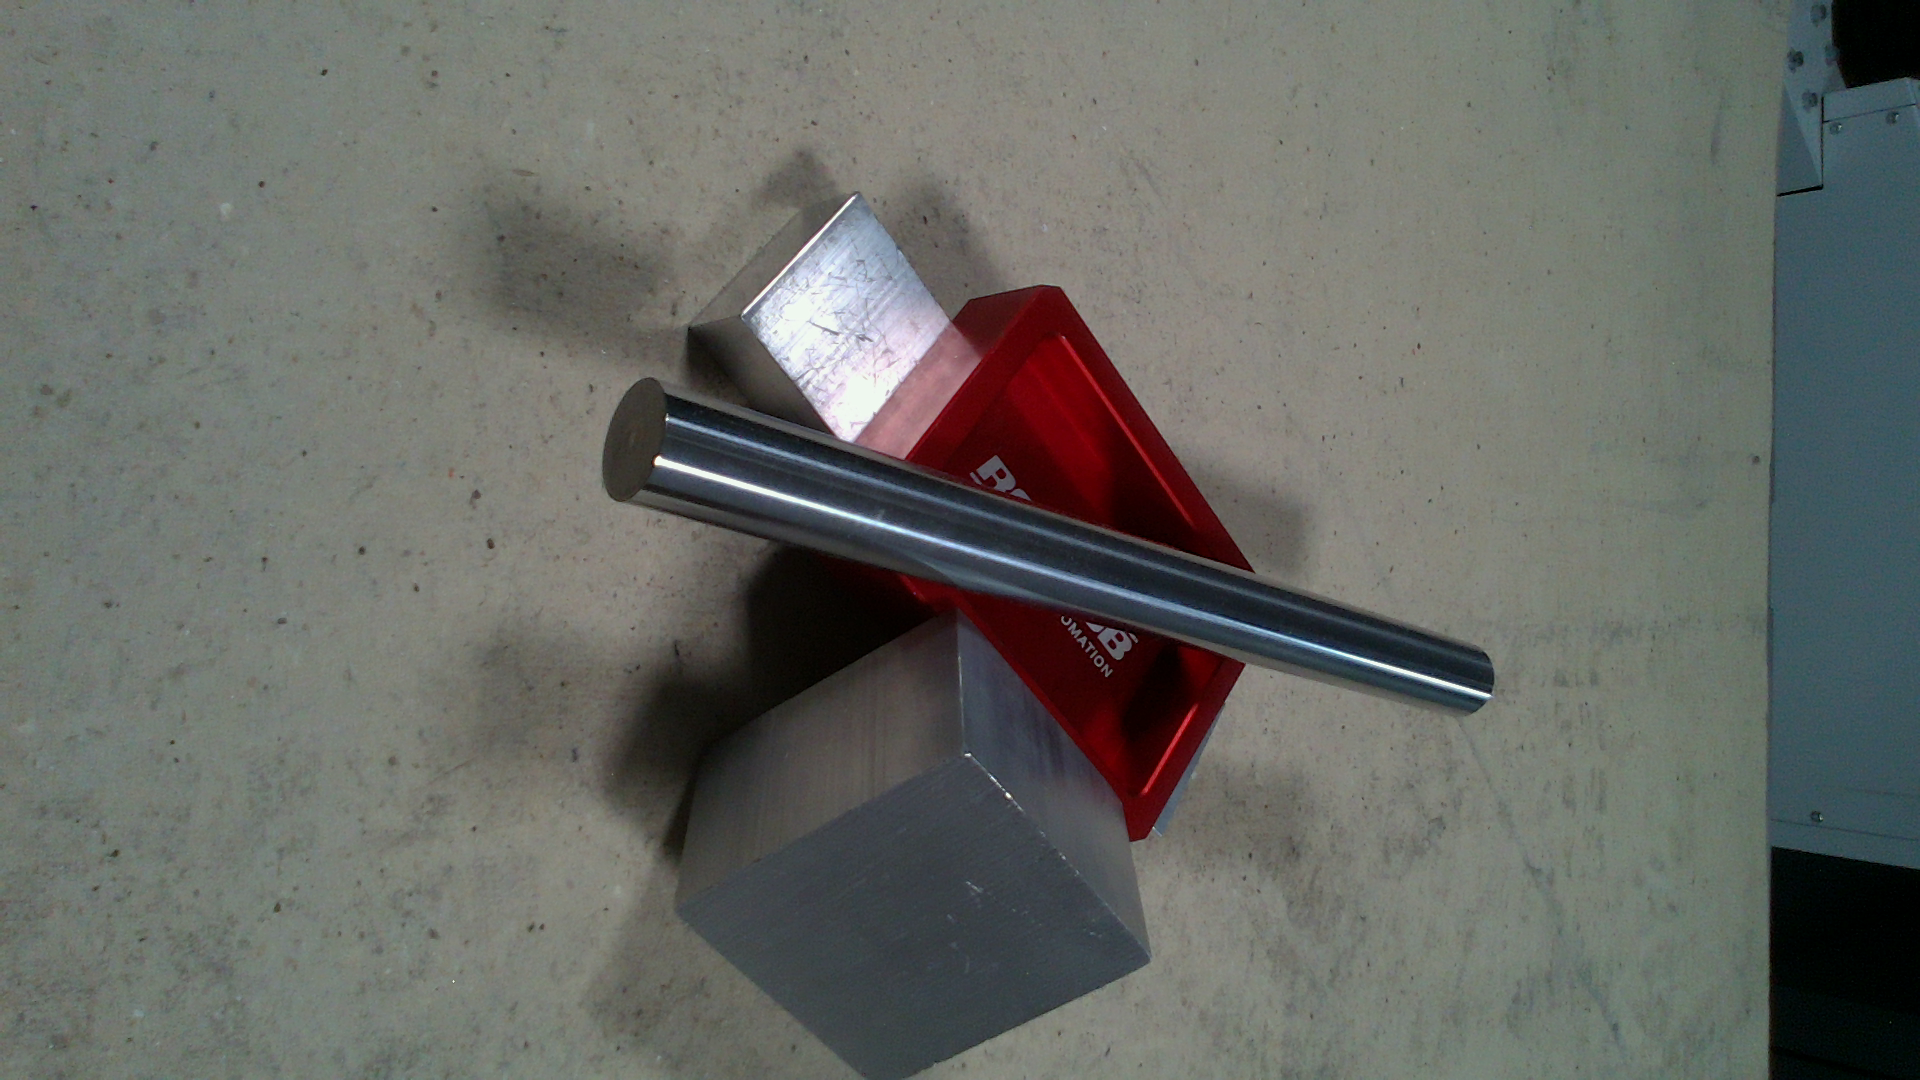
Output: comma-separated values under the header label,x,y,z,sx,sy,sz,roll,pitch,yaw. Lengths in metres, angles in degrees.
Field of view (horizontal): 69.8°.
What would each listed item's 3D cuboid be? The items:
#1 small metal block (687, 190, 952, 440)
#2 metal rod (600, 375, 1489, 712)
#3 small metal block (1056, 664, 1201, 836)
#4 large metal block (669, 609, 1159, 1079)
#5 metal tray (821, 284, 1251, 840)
label,x,y,z,sx,sy,sz,roll,pitch,yaw
small metal block,-0.034,-0.054,0.360,0.050,0.025,0.050,52,60,-27
metal rod,0.050,0.012,0.359,0.301,0.025,0.025,16,80,-39
small metal block,0.051,0.056,0.431,0.050,0.025,0.050,46,63,-30
large metal block,-0.010,0.077,0.334,0.080,0.080,0.050,50,19,-28
metal tray,0.027,0.008,0.375,0.130,0.030,0.090,51,60,-28
